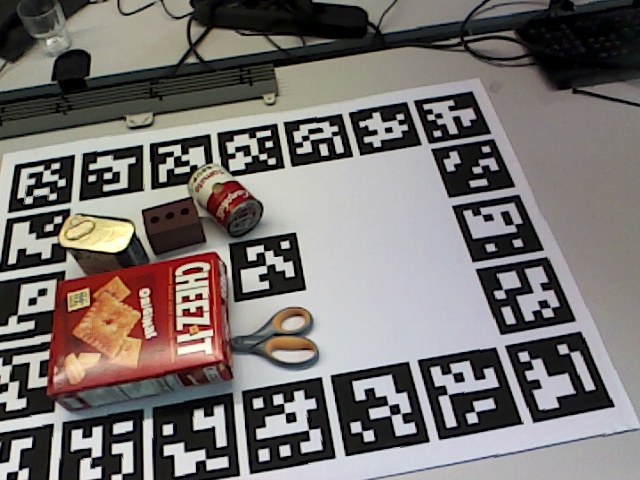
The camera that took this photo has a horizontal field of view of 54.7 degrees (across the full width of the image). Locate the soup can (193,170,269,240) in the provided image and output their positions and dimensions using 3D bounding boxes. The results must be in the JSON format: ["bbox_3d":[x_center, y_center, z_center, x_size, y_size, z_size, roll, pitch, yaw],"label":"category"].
[{"bbox_3d":[-0.135,-0.054,0.937,0.103,0.067,0.068,36,66,30],"label":"soup can"}]

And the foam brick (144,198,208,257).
[{"bbox_3d":[-0.212,-0.019,0.921,0.078,0.051,0.053,-18,58,-7],"label":"foam brick"}]

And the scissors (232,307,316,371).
[{"bbox_3d":[-0.110,0.145,0.813,0.202,0.016,0.088,-13,58,-4],"label":"scissors"}]

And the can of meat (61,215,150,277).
[{"bbox_3d":[-0.303,0.013,0.885,0.102,0.083,0.058,3,58,6],"label":"can of meat"}]

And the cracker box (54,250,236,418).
[{"bbox_3d":[-0.231,0.117,0.804,0.213,0.071,0.165,-15,56,-1],"label":"cracker box"}]
